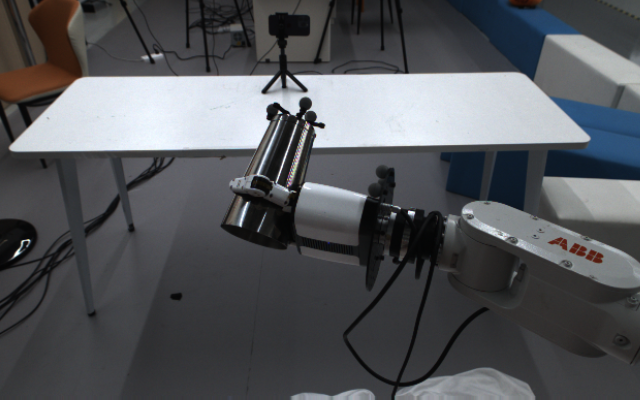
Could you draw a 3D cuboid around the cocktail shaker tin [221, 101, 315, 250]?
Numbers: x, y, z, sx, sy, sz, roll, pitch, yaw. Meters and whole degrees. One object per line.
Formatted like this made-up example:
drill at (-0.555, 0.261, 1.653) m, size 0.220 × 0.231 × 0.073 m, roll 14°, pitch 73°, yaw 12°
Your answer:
cocktail shaker tin at (-0.065, -0.028, 0.658) m, size 0.093 × 0.093 × 0.170 m, roll 14°, pitch 72°, yaw 16°
